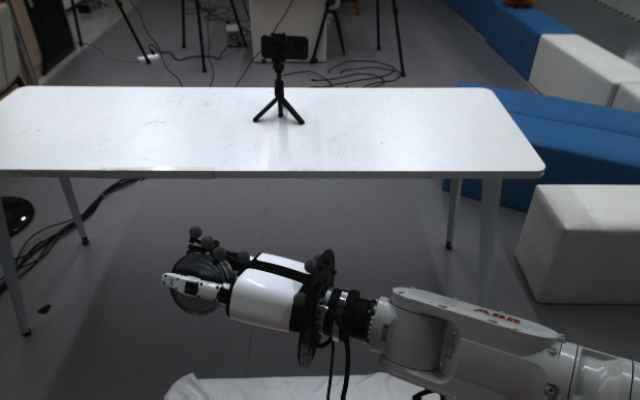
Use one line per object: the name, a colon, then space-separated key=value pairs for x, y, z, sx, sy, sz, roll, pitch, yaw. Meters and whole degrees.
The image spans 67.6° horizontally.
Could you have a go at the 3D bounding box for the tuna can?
tuna can: x=-0.159 y=0.114 z=0.669 sx=0.085 sy=0.085 sz=0.034 roll=13 pitch=3 yaw=16
